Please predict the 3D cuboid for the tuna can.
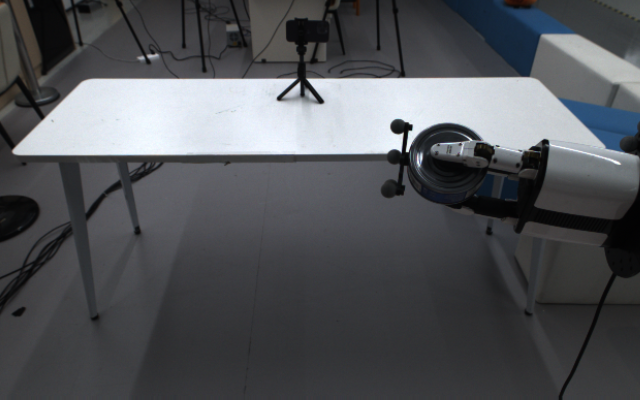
[{"bbox_3d":[0.142,-0.044,0.532,0.085,0.034,0.085,-2,68,6],"label":"tuna can"}]
